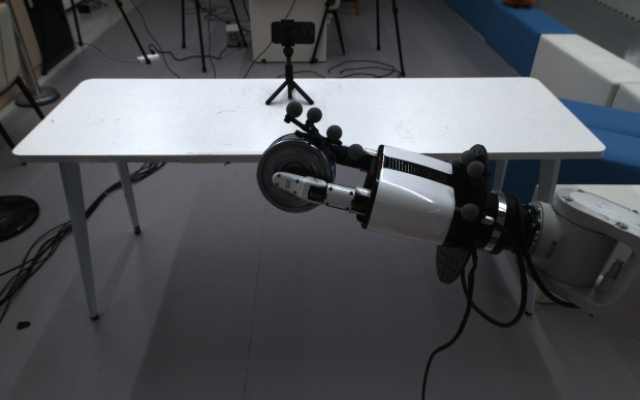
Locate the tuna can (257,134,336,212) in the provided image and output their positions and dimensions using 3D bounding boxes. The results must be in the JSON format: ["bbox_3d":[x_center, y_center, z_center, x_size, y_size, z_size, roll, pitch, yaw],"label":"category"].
[{"bbox_3d":[-0.023,-0.024,0.538,0.085,0.085,0.034,6,19,6],"label":"tuna can"}]
